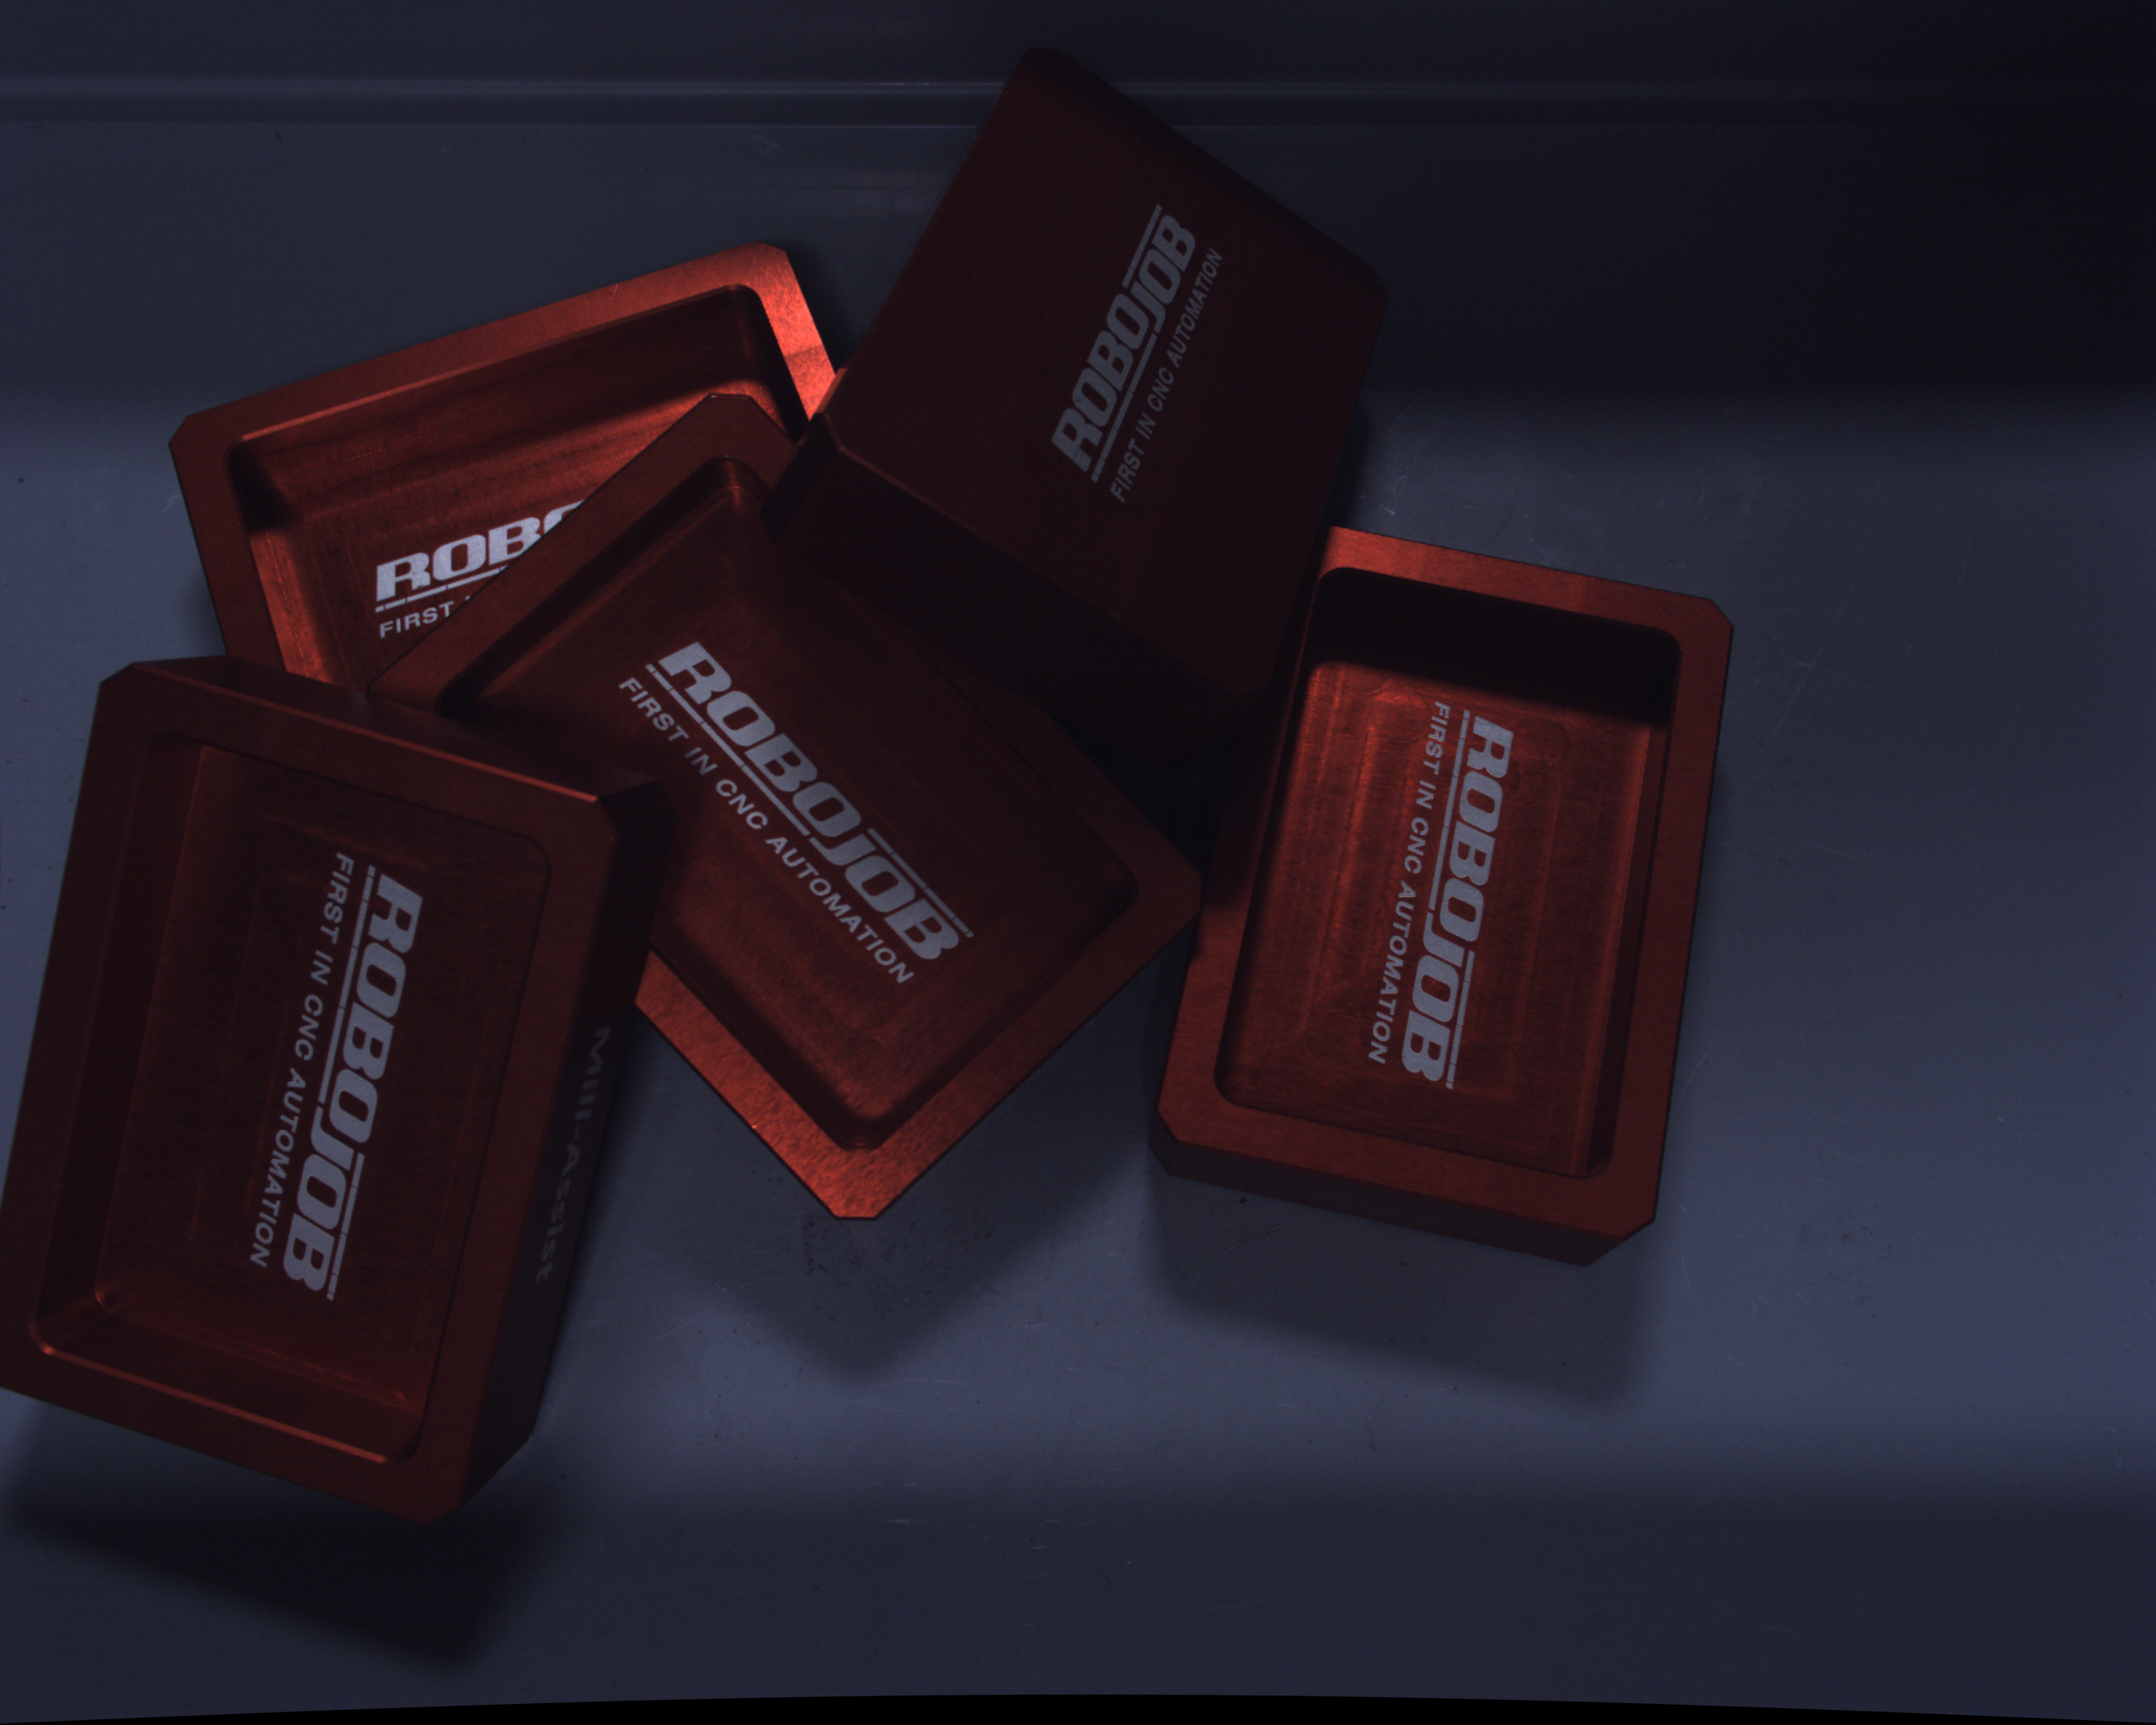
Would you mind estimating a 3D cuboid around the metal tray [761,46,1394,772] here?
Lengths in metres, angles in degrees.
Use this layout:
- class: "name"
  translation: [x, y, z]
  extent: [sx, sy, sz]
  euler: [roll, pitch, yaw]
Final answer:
- class: "metal tray"
  translation: [0.006, -0.091, 0.402]
  extent: [0.090, 0.030, 0.130]
  euler: [31, 51, -13]

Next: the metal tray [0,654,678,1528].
- class: "metal tray"
  translation: [-0.130, 0.038, 0.359]
  extent: [0.090, 0.030, 0.129]
  euler: [16, 99, 5]

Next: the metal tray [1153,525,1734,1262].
- class: "metal tray"
  translation: [0.071, 0.004, 0.405]
  extent: [0.090, 0.030, 0.130]
  euler: [12, 70, 4]

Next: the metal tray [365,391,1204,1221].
- class: "metal tray"
  translation: [-0.052, -0.010, 0.385]
  extent: [0.090, 0.030, 0.130]
  euler: [-43, 91, -8]

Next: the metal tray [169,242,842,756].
- class: "metal tray"
  translation: [-0.107, -0.066, 0.428]
  extent: [0.131, 0.030, 0.090]
  euler: [-19, 71, -8]
